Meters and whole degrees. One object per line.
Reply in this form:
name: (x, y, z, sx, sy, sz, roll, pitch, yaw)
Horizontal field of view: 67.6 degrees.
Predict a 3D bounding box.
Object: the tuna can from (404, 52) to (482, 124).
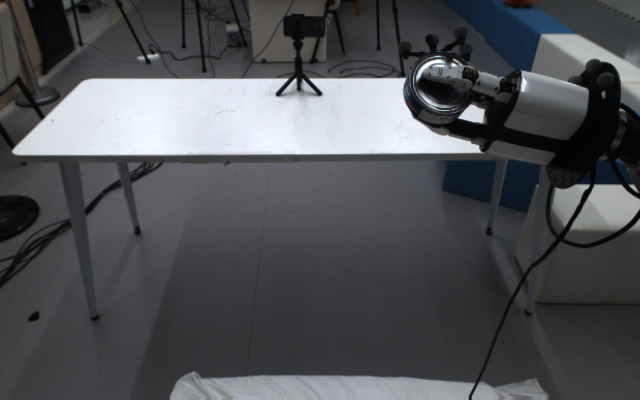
tuna can: (0.150, -0.141, 0.609, 0.085, 0.034, 0.085, 1, 72, -4)
